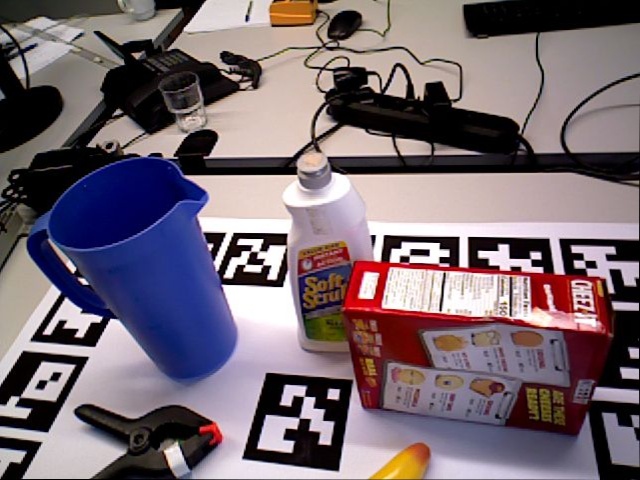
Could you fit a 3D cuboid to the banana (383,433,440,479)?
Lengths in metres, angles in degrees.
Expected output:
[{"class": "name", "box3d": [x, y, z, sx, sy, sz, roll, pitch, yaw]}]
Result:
[{"class": "banana", "box3d": [0.036, 0.241, 0.497, 0.195, 0.039, 0.074, -24, 43, -12]}]

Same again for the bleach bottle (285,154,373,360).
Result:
[{"class": "bleach bottle", "box3d": [0.004, 0.025, 0.567, 0.103, 0.255, 0.066, 0, 42, 12]}]

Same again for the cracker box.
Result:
[{"class": "cracker box", "box3d": [0.149, 0.094, 0.500, 0.214, 0.167, 0.070, 0, 40, 15]}]

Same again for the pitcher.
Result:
[{"class": "pitcher", "box3d": [-0.187, 0.040, 0.566, 0.187, 0.247, 0.131, -11, 41, -4]}]

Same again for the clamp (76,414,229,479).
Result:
[{"class": "clamp", "box3d": [-0.177, 0.221, 0.557, 0.164, 0.037, 0.120, -11, 41, -1]}]
